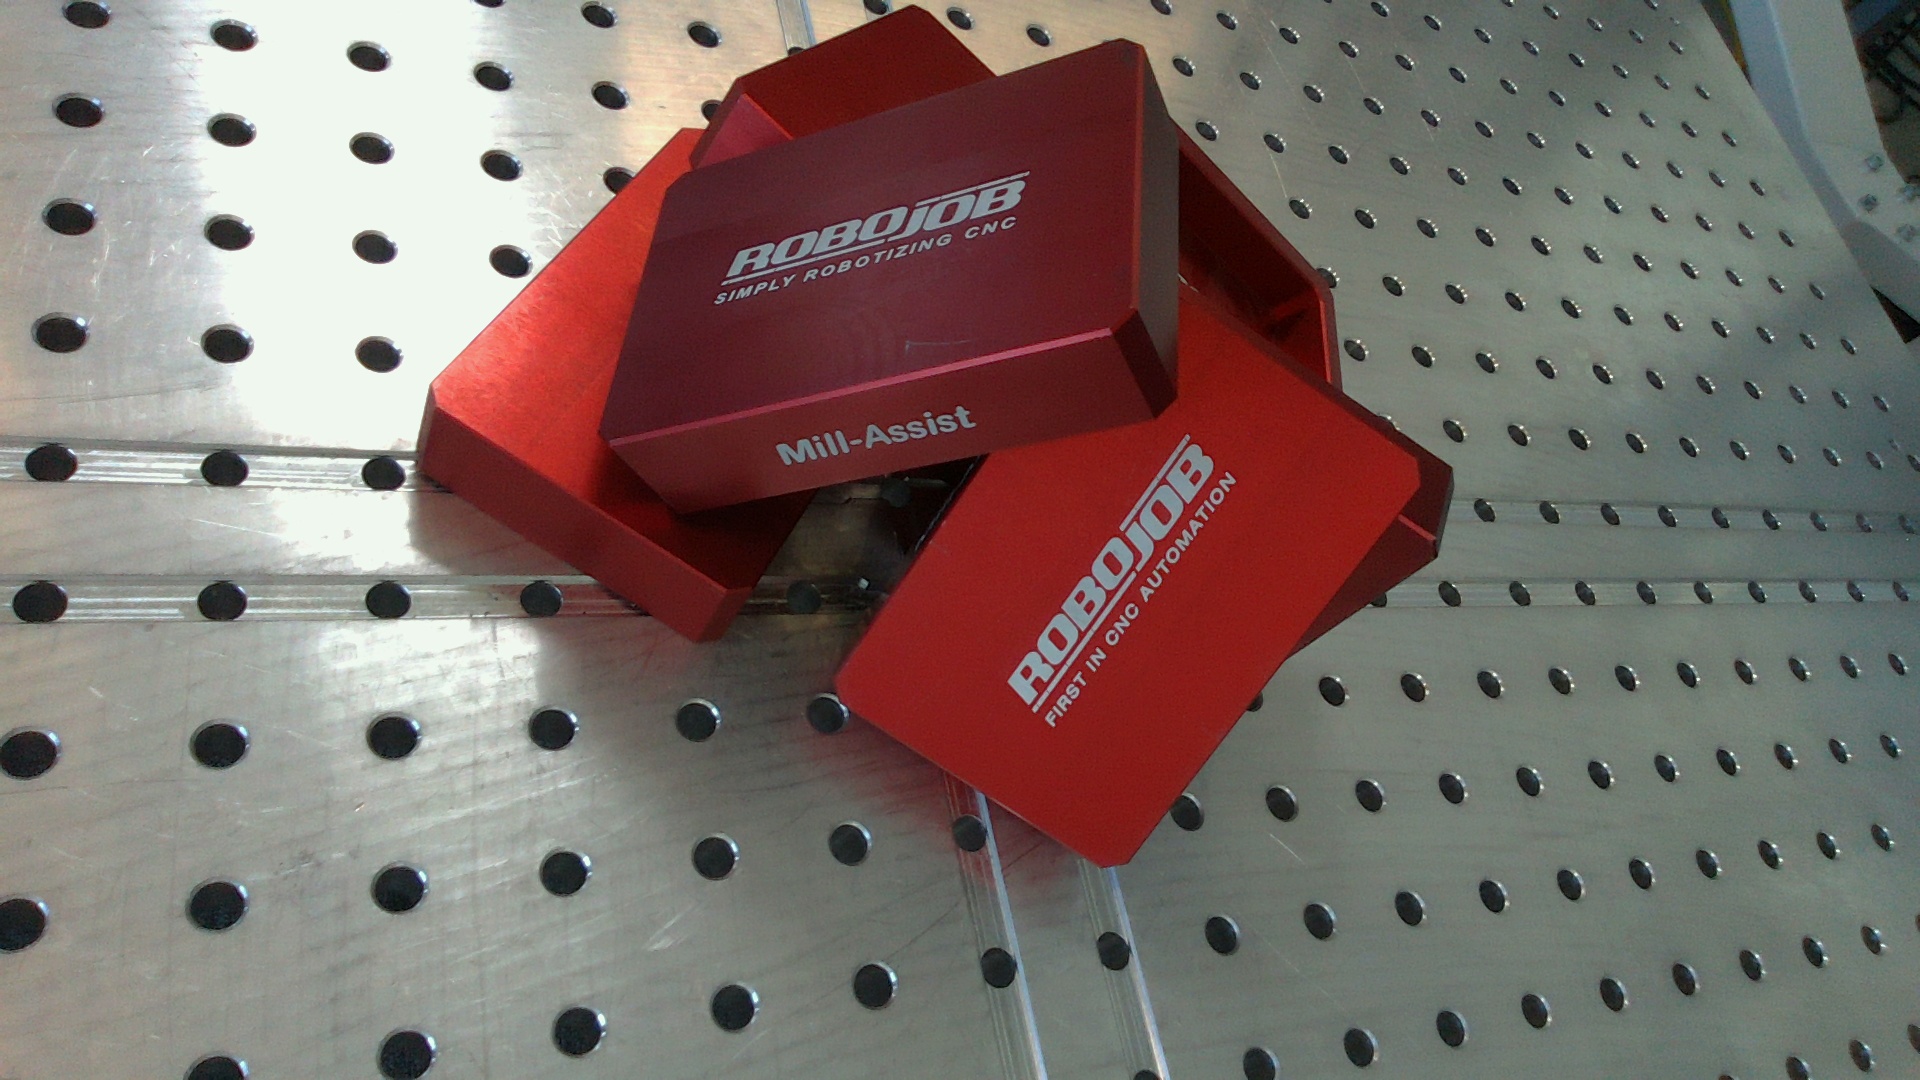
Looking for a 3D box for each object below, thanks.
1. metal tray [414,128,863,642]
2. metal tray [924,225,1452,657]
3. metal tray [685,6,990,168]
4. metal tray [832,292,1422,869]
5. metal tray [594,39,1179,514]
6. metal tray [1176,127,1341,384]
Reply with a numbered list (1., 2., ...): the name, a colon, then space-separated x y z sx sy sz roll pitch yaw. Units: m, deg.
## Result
1. metal tray: -0.072 -0.047 0.379 0.090 0.030 0.130 34 51 -7
2. metal tray: 0.061 -0.022 0.396 0.130 0.090 0.030 33 51 -6
3. metal tray: -0.014 -0.114 0.428 0.090 0.030 0.130 42 37 -3
4. metal tray: 0.039 0.007 0.348 0.090 0.130 0.030 33 12 -6
5. metal tray: -0.016 -0.061 0.324 0.030 0.130 0.090 54 33 -48
6. metal tray: 0.077 -0.078 0.447 0.130 0.030 0.090 33 48 -36
